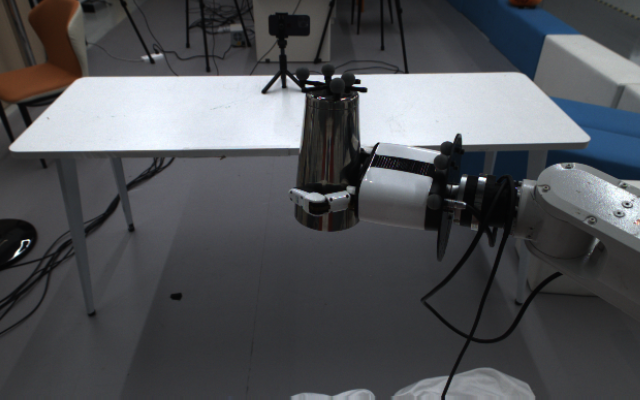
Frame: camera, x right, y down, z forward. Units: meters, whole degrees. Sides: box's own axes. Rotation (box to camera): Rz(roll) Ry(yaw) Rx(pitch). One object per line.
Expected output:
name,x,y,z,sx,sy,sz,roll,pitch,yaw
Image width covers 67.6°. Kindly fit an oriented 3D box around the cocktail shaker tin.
cocktail shaker tin,0.014,-0.057,0.628,0.093,0.170,0.093,1,28,-1
